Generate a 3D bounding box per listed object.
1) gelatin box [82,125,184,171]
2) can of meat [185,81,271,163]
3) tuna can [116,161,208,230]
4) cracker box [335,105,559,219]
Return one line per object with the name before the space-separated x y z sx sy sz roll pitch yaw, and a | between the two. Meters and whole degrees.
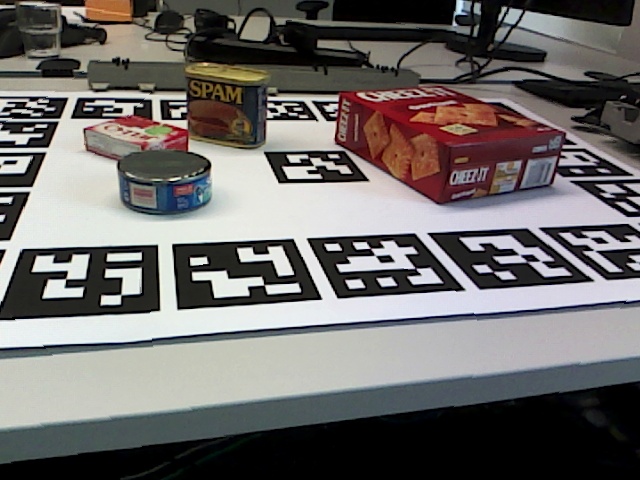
gelatin box | -0.215 -0.105 0.715 0.090 0.030 0.073 20 28 23
can of meat | -0.115 -0.147 0.772 0.102 0.083 0.058 11 27 15
tuna can | -0.151 -0.044 0.597 0.086 0.033 0.086 3 30 -2
cracker box | 0.143 -0.102 0.736 0.163 0.072 0.215 -9 29 -28
